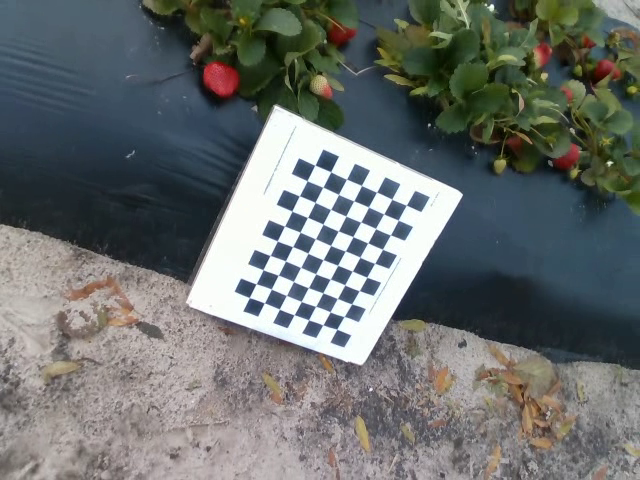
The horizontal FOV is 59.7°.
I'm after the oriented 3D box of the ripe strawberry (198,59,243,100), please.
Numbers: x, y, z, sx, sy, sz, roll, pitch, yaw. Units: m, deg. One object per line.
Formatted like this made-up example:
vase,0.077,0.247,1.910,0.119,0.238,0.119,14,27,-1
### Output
ripe strawberry,-0.101,-0.157,0.534,0.037,0.046,0.037,-18,-28,6
